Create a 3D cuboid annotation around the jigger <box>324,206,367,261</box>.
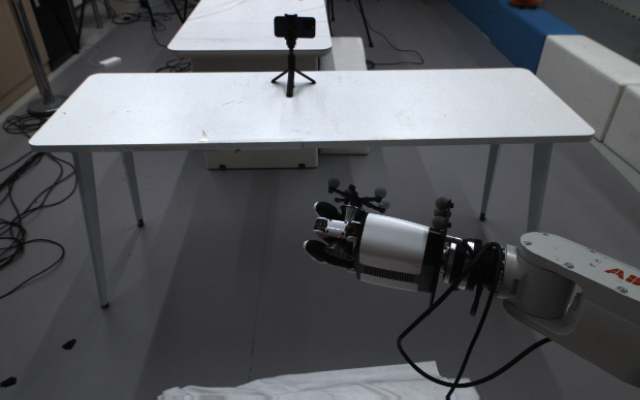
[{"bbox_3d":[0.040,0.045,0.678,0.043,0.043,0.071,13,70,16],"label":"jigger"}]
